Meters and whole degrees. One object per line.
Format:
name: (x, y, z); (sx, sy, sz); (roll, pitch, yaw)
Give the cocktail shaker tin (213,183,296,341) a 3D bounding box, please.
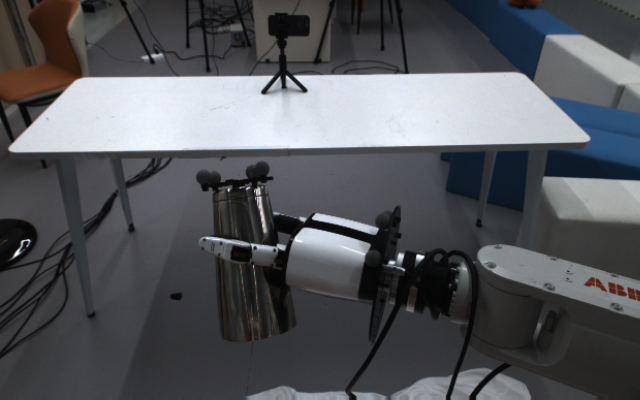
cocktail shaker tin: (-0.084, 0.072, 0.579); (0.093, 0.170, 0.093); (-8, 1, 0)
